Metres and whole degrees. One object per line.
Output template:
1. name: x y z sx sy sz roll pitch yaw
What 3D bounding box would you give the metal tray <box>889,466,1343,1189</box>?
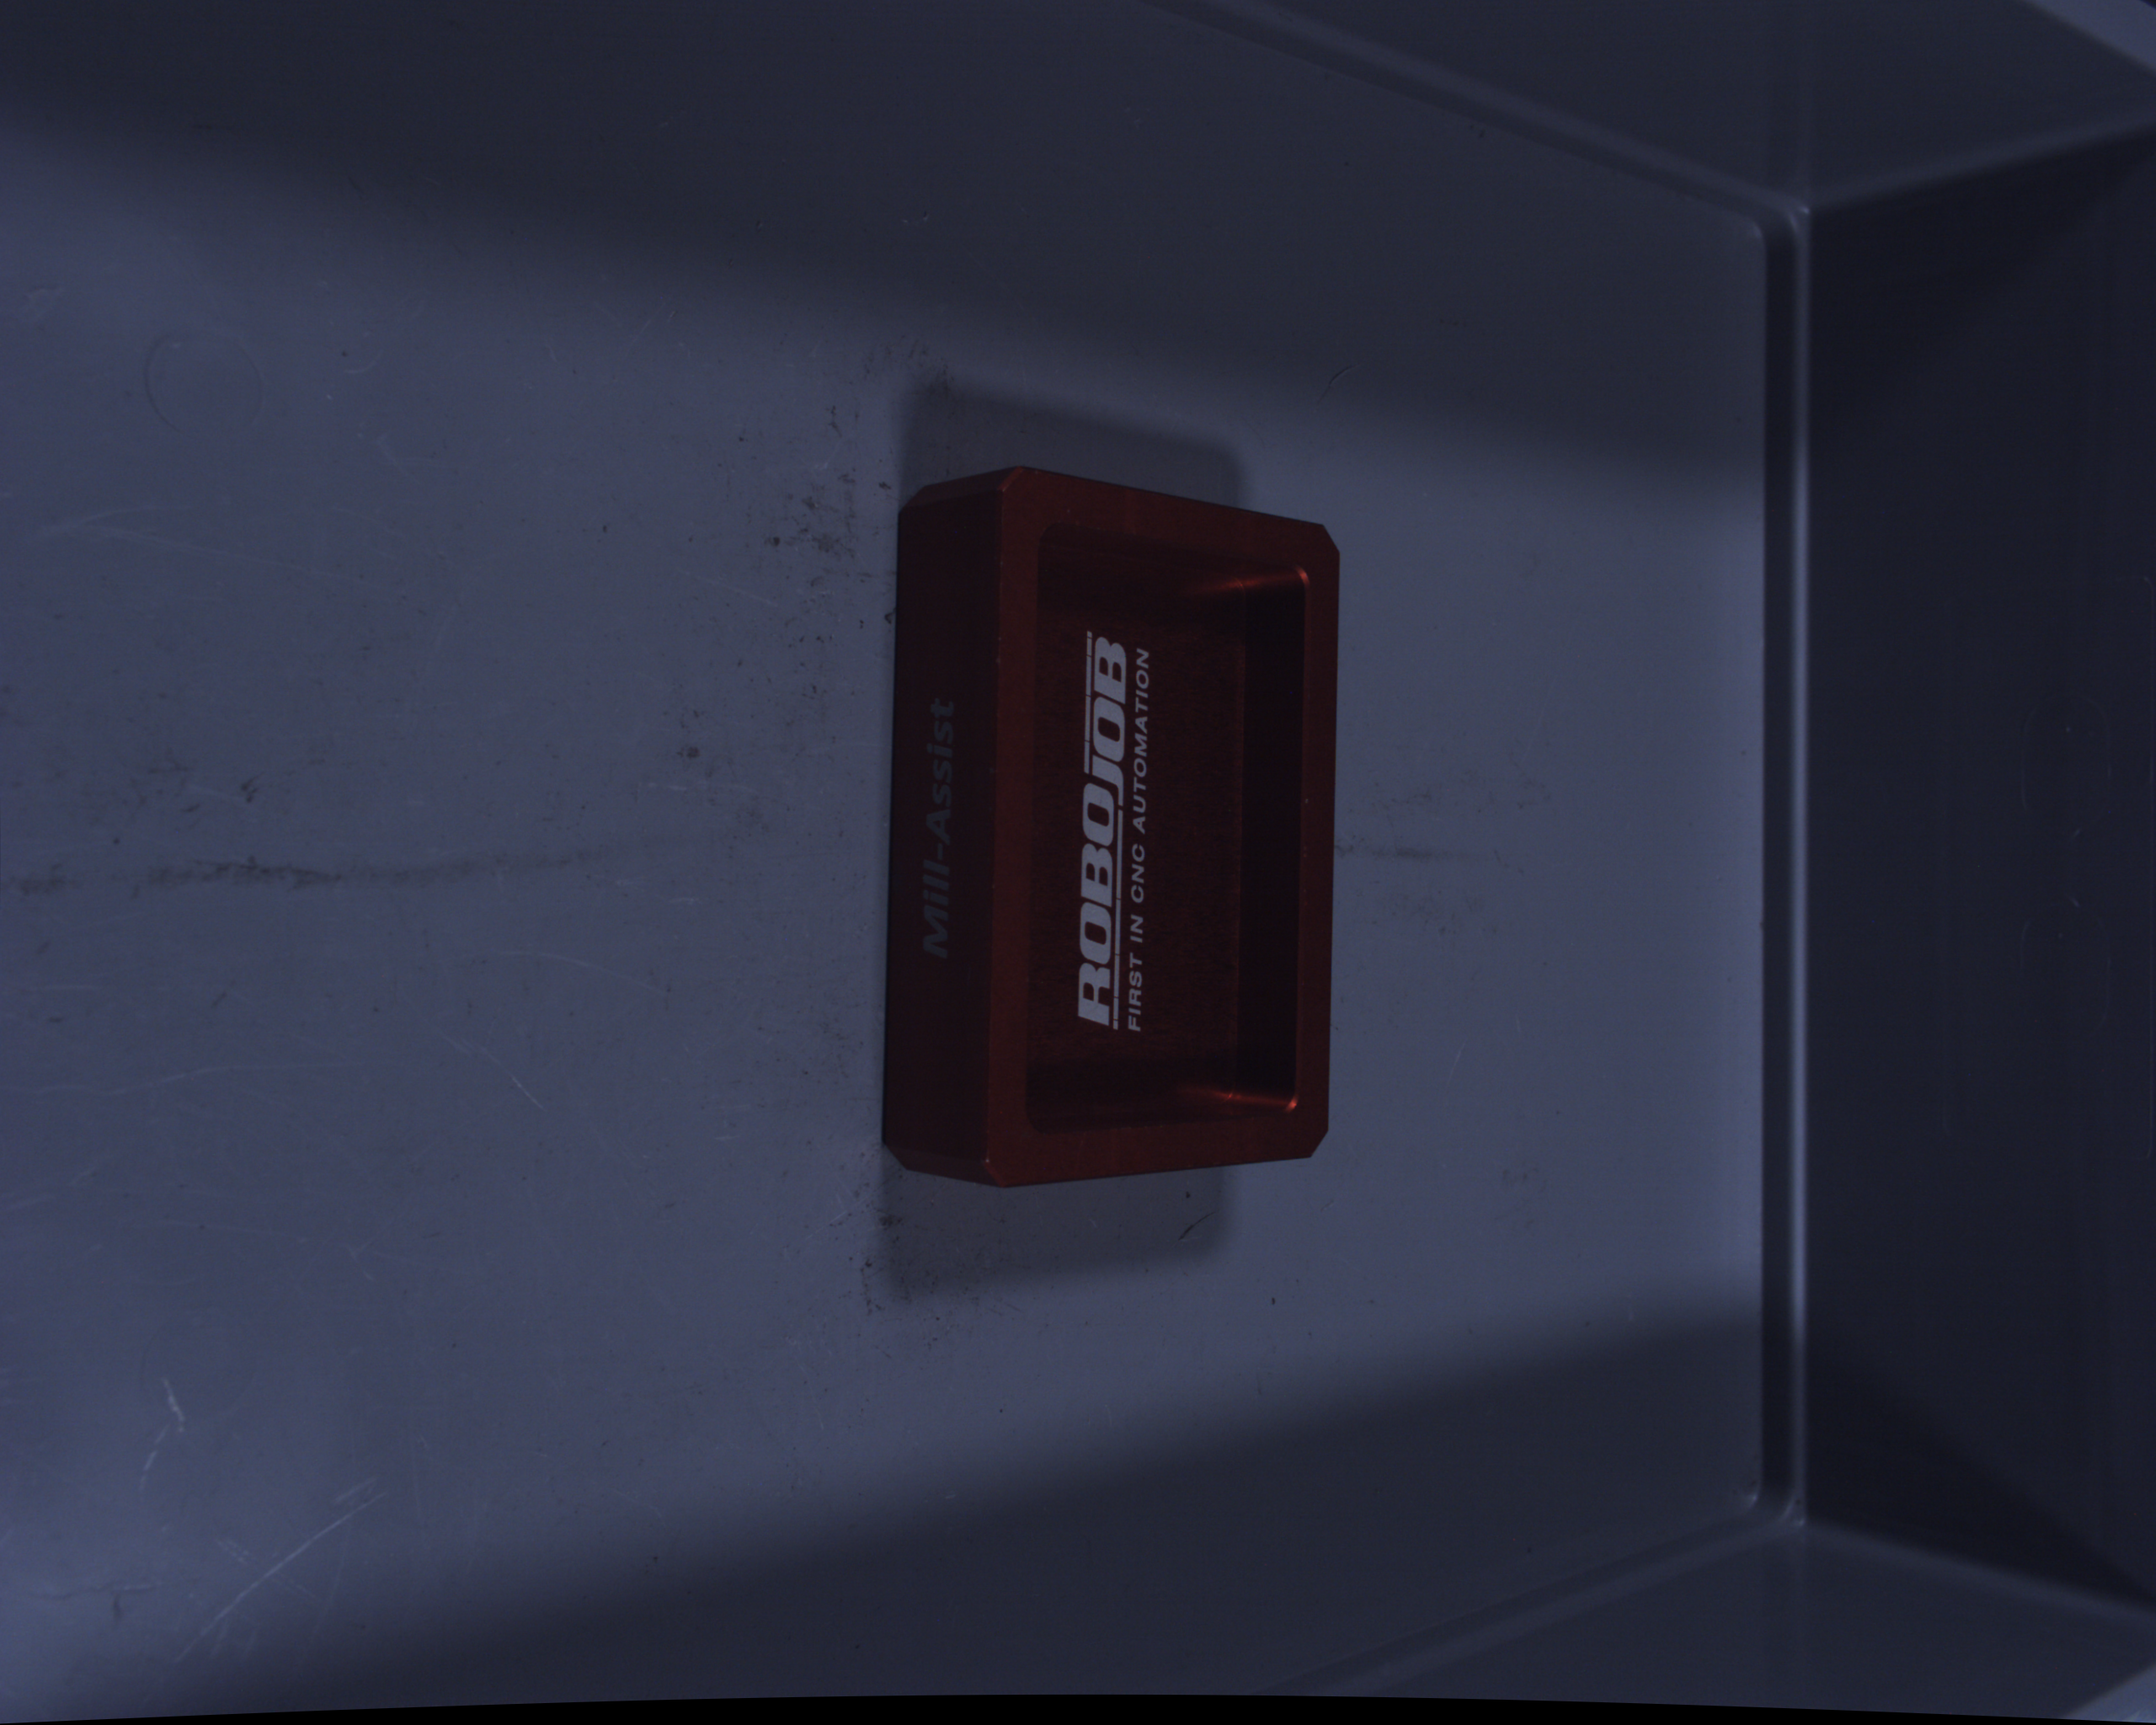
1. metal tray: 0.010 -0.005 0.409 0.091 0.030 0.129 2 88 -41
